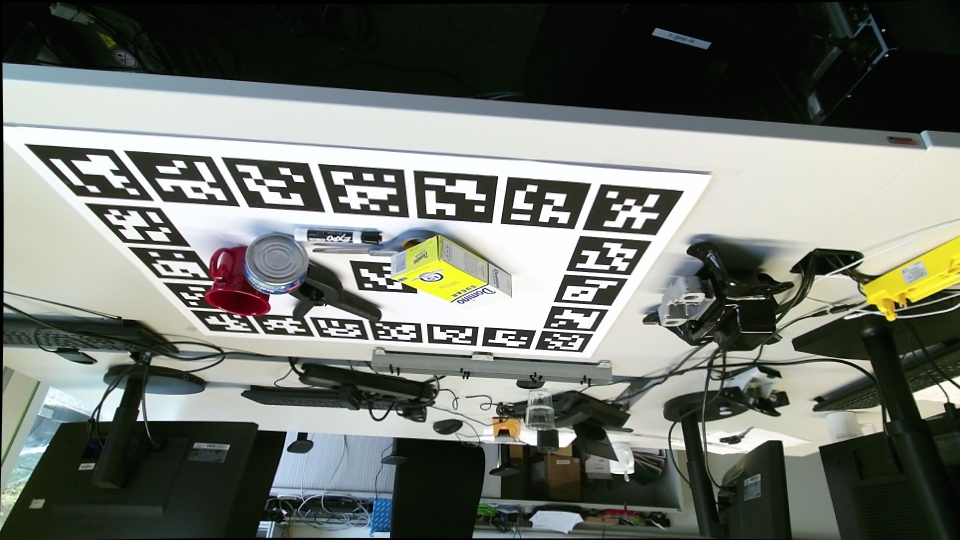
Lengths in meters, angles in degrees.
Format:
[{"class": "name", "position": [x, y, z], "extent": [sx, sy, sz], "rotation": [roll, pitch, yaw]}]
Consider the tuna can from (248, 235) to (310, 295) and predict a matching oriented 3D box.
[{"class": "tuna can", "position": [-0.292, -0.008, 0.781], "extent": [0.086, 0.085, 0.034], "rotation": [13, 147, -16]}]

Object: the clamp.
[{"class": "clamp", "position": [-0.268, 0.041, 0.922], "extent": [0.166, 0.036, 0.203], "rotation": [-1, 147, 8]}]

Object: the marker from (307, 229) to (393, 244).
[{"class": "marker", "position": [-0.187, -0.047, 0.772], "extent": [0.121, 0.019, 0.020], "rotation": [1, 147, 1]}]

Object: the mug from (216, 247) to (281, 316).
[{"class": "mug", "position": [-0.355, 0.012, 0.827], "extent": [0.093, 0.081, 0.117], "rotation": [-11, 149, 22]}]

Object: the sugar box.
[{"class": "sugar box", "position": [-0.038, 0.012, 0.820], "extent": [0.093, 0.045, 0.177], "rotation": [-17, 148, 30]}]

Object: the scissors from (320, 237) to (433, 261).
[{"class": "scissors", "position": [-0.143, -0.021, 0.807], "extent": [0.203, 0.016, 0.088], "rotation": [-1, 152, 9]}]
